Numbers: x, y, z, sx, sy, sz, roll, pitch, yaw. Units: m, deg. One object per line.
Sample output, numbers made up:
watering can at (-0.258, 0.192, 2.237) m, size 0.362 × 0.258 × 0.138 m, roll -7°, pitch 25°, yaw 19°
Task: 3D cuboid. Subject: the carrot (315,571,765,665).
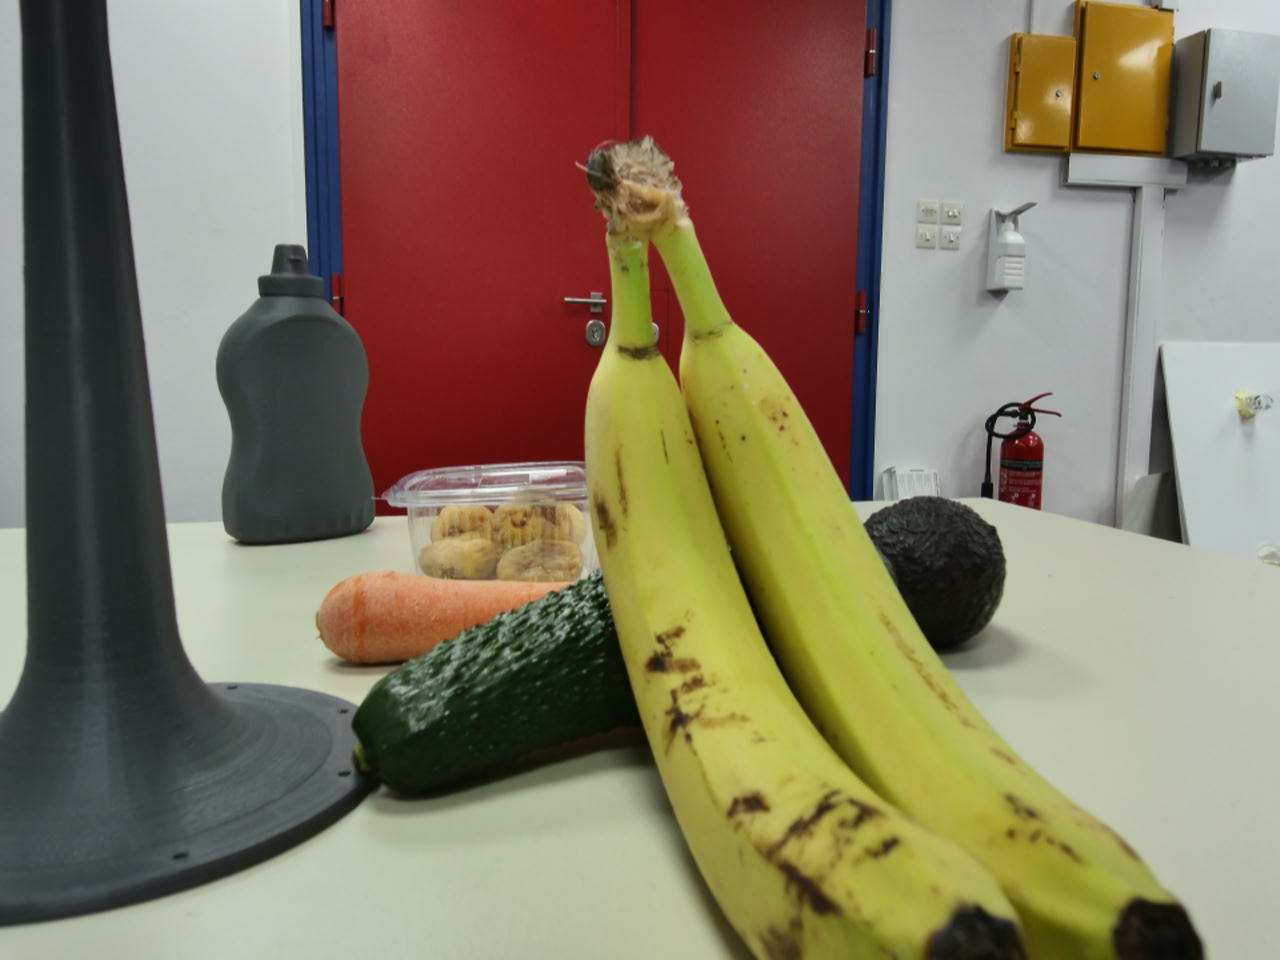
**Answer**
carrot at (-0.040, 0.057, 0.441) m, size 0.196 × 0.041 × 0.039 m, roll -2°, pitch 5°, yaw -13°
